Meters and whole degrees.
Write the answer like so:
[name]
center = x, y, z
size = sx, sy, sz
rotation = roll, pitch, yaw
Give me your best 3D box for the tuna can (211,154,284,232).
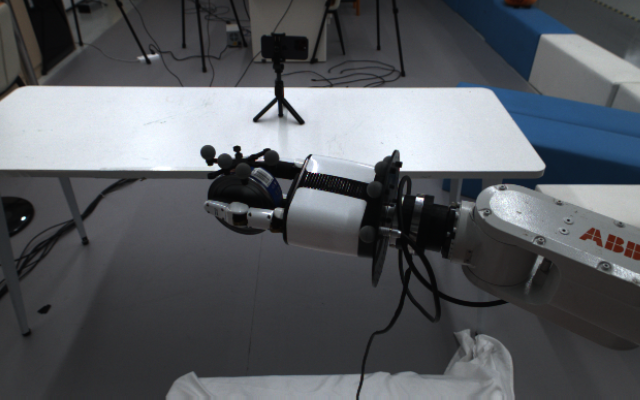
[tuna can]
center = -0.088, -0.003, 0.587
size = 0.085, 0.085, 0.034
rotation = 11, 34, 12
